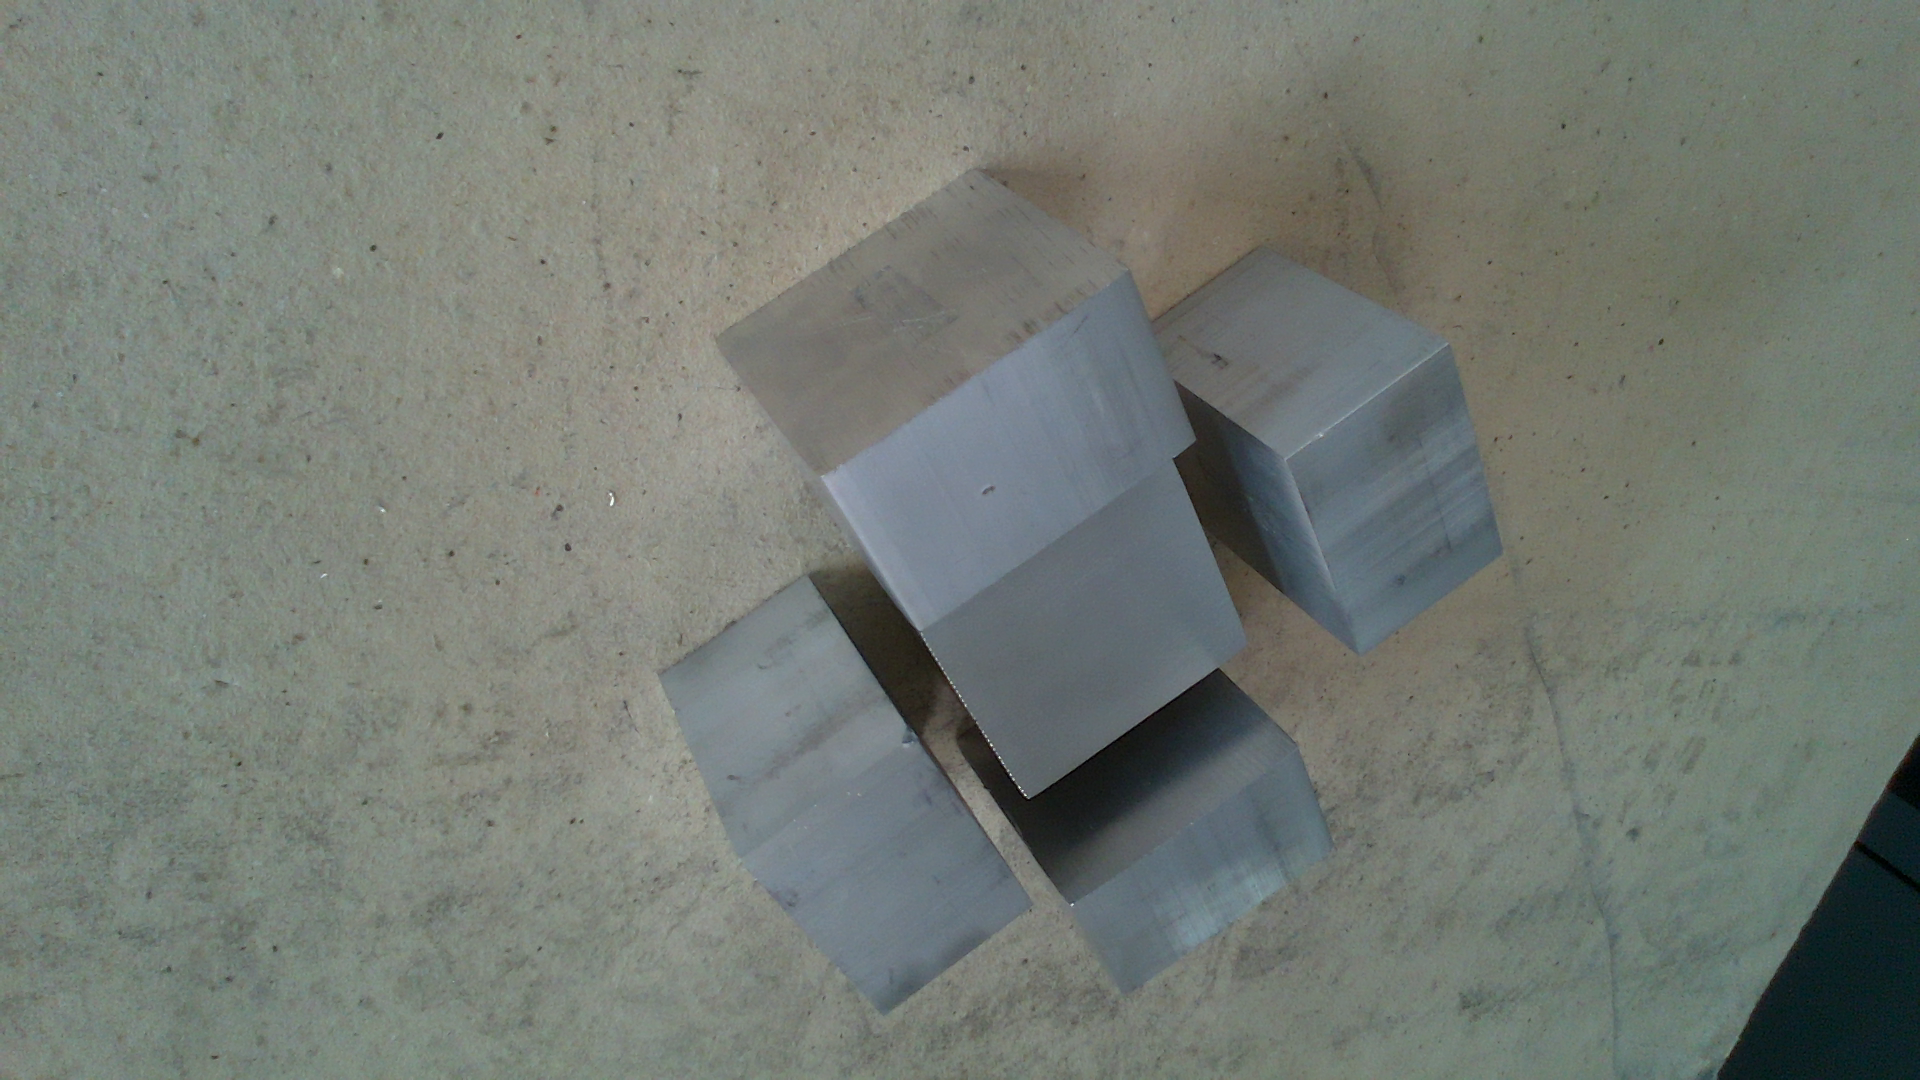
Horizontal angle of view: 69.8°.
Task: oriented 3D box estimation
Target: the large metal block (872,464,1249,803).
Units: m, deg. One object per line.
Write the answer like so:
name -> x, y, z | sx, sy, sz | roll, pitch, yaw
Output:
large metal block -> 0.026, 0.014, 0.393 | 0.080, 0.050, 0.080 | -34, 129, -6

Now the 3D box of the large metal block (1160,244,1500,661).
large metal block -> 0.099, -0.026, 0.392 | 0.050, 0.080, 0.080 | -36, 129, -5

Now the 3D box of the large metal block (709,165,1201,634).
large metal block -> -0.003, -0.037, 0.331 | 0.080, 0.080, 0.050 | -34, 129, -6

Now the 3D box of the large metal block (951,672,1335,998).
large metal block -> 0.056, 0.080, 0.433 | 0.080, 0.080, 0.050 | -33, 128, -7

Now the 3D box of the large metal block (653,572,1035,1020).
large metal block -> -0.032, 0.069, 0.378 | 0.050, 0.080, 0.080 | -35, 129, -5
